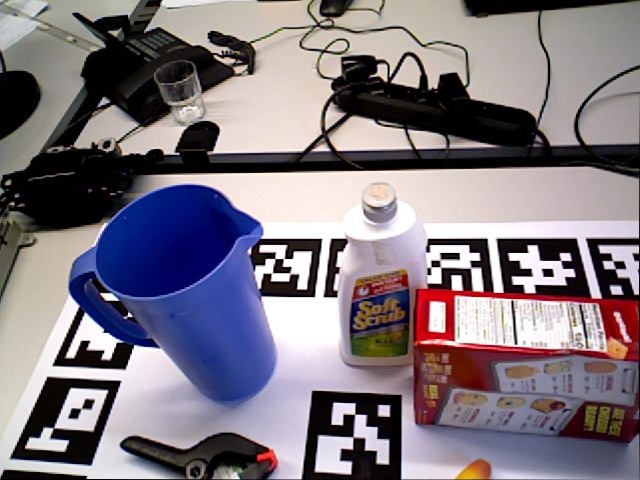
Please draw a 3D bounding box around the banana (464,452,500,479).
[{"bbox_3d":[0.101,0.268,0.509,0.195,0.039,0.074,-26,49,-13],"label":"banana"}]

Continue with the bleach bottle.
[{"bbox_3d":[0.062,0.047,0.557,0.102,0.255,0.066,0,47,8],"label":"bleach bottle"}]

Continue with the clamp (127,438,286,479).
[{"bbox_3d":[-0.116,0.247,0.553,0.164,0.037,0.120,-12,47,-4],"label":"clamp"}]

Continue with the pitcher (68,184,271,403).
[{"bbox_3d":[-0.128,0.065,0.546,0.187,0.247,0.132,-12,47,-6],"label":"pitcher"}]

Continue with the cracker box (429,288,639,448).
[{"bbox_3d":[0.212,0.120,0.505,0.214,0.167,0.070,0,46,11],"label":"cracker box"}]
